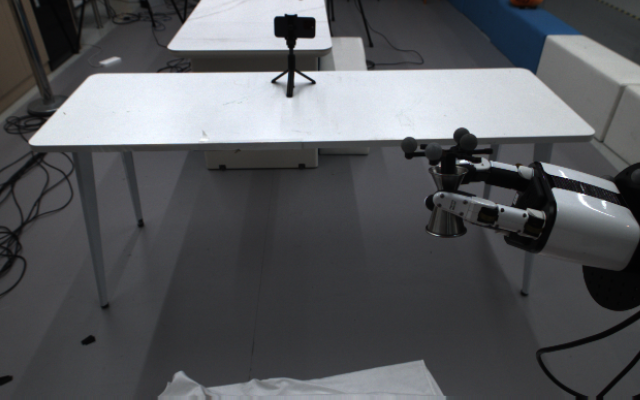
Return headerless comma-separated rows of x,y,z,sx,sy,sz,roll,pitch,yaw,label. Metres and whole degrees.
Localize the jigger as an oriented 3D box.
0.135,0.001,0.515,0.043,0.071,0.043,-2,19,1,jigger
